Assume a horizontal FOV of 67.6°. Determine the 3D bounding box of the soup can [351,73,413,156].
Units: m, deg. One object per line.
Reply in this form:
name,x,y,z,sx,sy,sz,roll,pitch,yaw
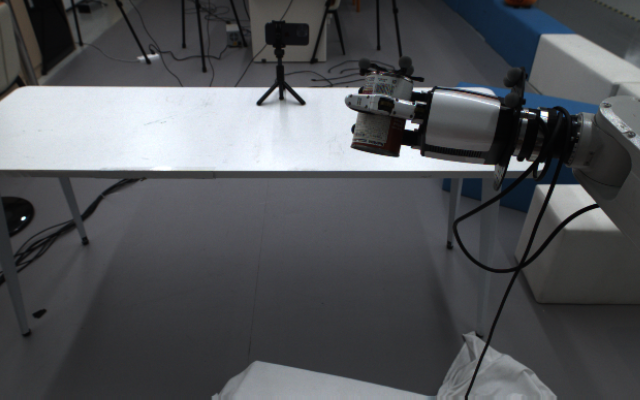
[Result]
soup can,0.086,-0.115,0.658,0.067,0.101,0.067,12,2,0
